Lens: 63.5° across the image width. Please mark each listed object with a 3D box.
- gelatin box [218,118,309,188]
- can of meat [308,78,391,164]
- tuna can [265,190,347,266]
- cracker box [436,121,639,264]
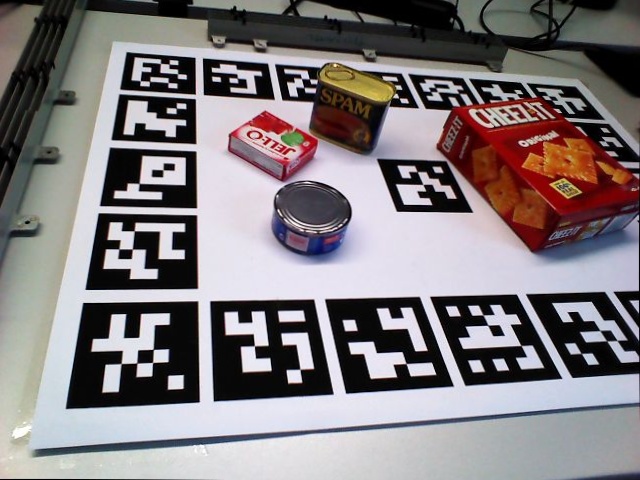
[{"bbox_3d":[-0.071,-0.113,0.655,0.089,0.030,0.073,32,45,15],"label":"gelatin box"},{"bbox_3d":[0.035,-0.158,0.697,0.102,0.084,0.057,21,45,10],"label":"can of meat"},{"bbox_3d":[-0.016,-0.013,0.563,0.086,0.034,0.085,6,48,-7],"label":"tuna can"},{"bbox_3d":[0.286,-0.077,0.681,0.163,0.072,0.213,-12,48,-25],"label":"cracker box"}]
